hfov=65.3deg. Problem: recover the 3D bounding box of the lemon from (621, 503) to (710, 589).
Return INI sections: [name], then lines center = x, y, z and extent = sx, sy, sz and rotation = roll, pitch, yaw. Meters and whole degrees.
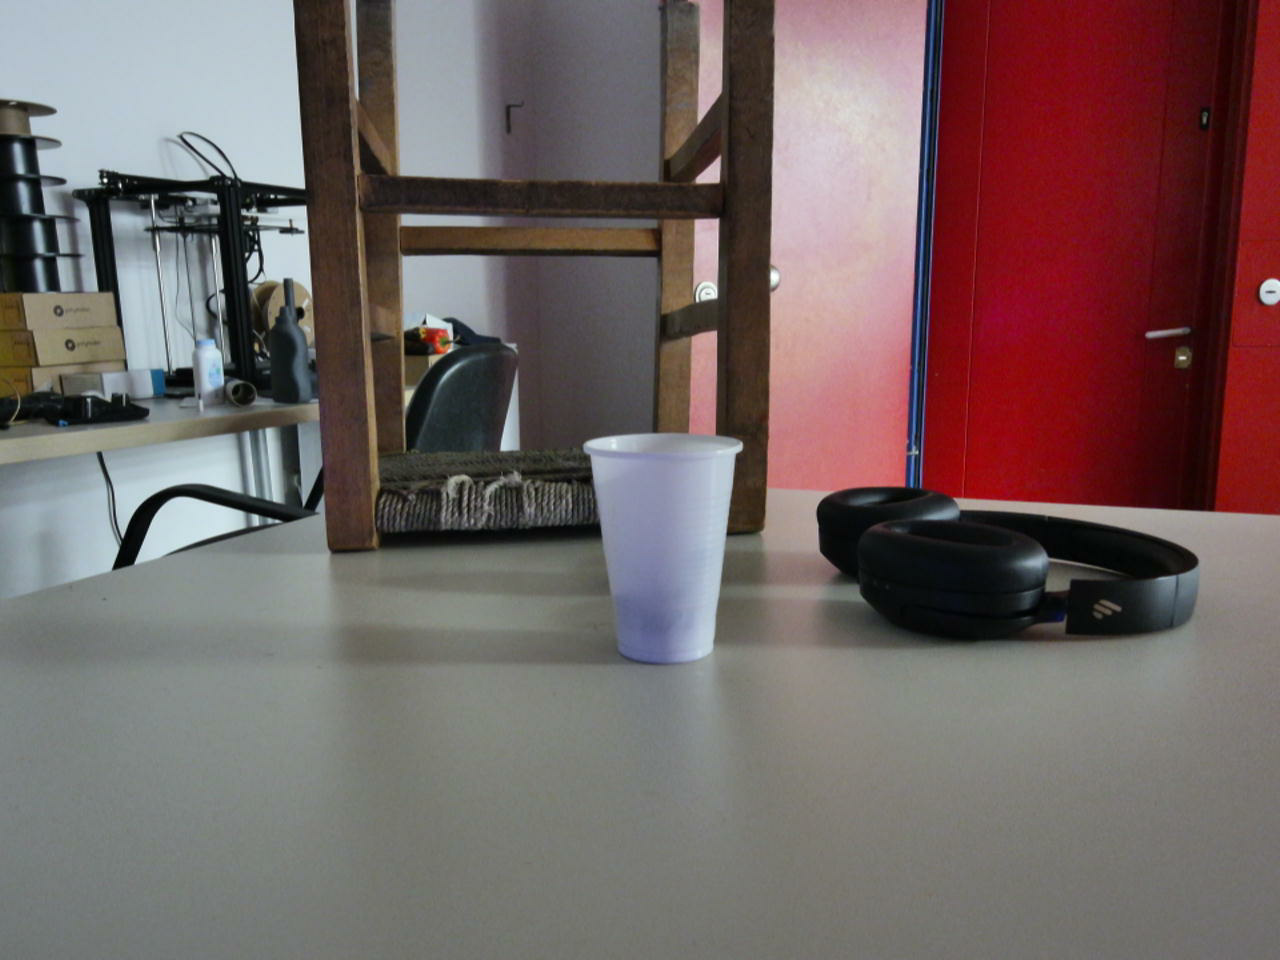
[lemon]
center = 0.016, 0.040, 0.618
extent = 0.057, 0.051, 0.054
rotation = 3, 8, 19
